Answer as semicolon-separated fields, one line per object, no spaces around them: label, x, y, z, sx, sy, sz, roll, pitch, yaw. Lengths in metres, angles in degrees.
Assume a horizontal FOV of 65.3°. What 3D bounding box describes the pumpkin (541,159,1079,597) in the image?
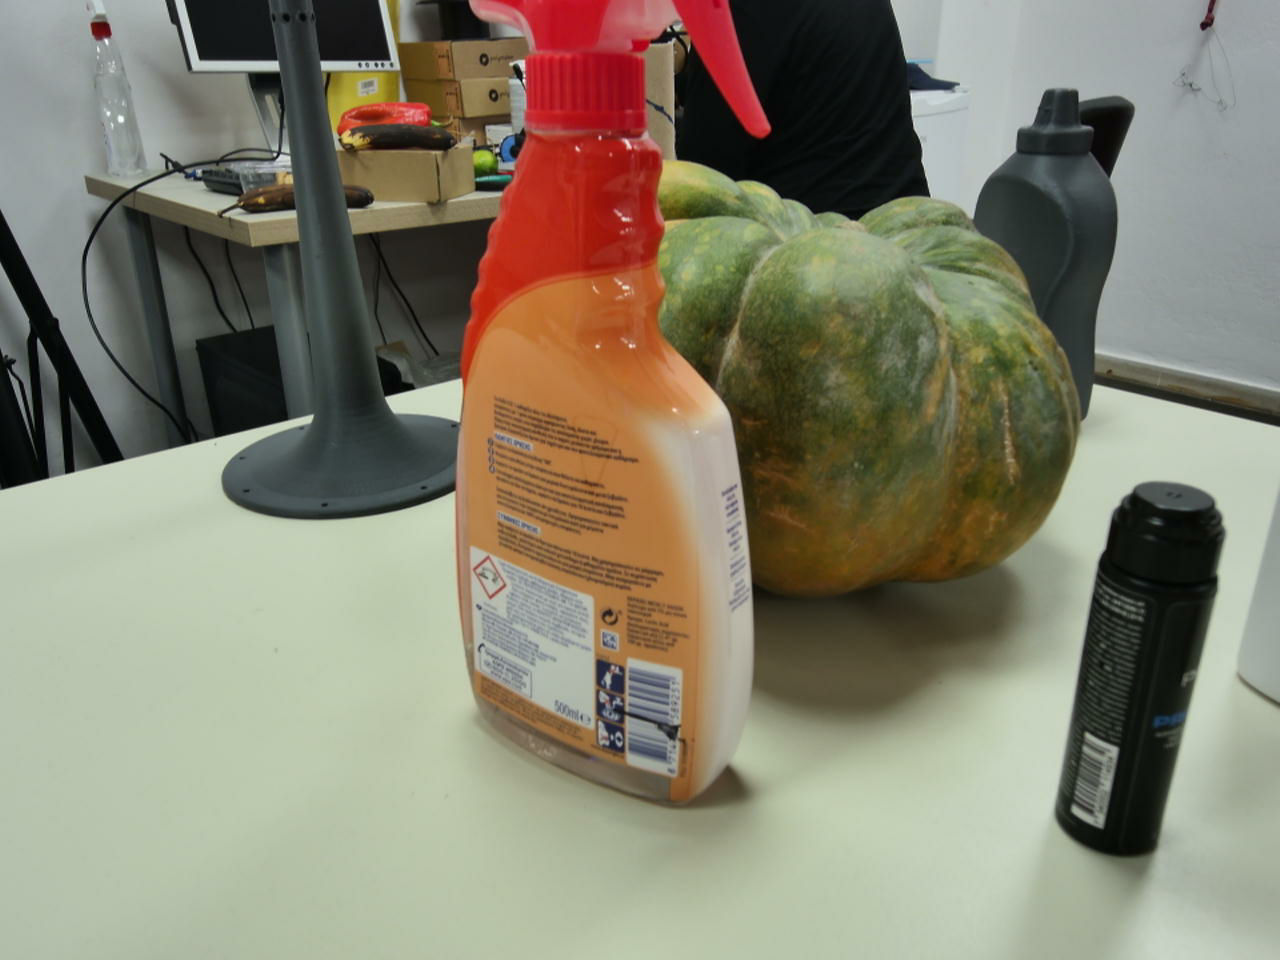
pumpkin;0.076;-0.051;0.461;0.237;0.173;0.270;-1;22;-1
